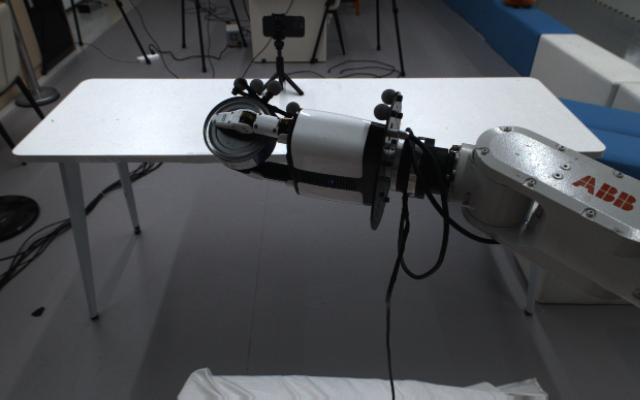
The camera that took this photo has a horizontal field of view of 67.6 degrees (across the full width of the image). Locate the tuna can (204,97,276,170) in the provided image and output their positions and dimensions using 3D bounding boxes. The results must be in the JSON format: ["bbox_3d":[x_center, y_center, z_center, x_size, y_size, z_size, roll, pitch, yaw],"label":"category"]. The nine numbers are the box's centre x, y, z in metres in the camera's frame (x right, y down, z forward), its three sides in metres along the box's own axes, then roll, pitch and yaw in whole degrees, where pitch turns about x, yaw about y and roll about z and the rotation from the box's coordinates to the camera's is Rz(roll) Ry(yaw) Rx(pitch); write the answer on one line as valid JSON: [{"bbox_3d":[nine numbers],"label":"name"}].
[{"bbox_3d":[-0.096,-0.082,0.597,0.085,0.034,0.085,-2,71,6],"label":"tuna can"}]
